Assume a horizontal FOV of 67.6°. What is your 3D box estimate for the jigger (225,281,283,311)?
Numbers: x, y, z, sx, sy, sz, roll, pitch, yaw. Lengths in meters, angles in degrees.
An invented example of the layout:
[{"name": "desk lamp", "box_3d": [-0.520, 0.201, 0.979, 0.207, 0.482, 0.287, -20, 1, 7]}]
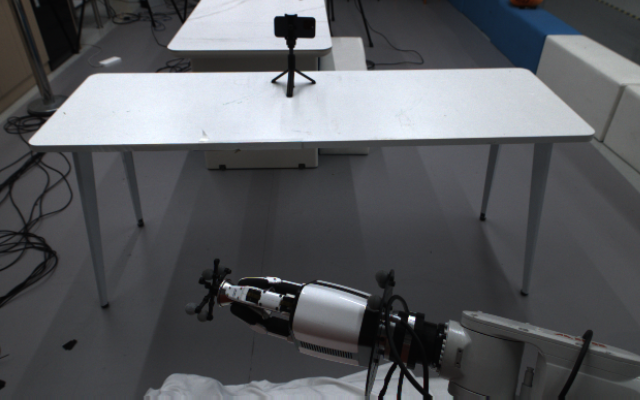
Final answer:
[{"name": "jigger", "box_3d": [-0.093, 0.128, 0.655, 0.071, 0.043, 0.043, 10, 35, 16]}]
